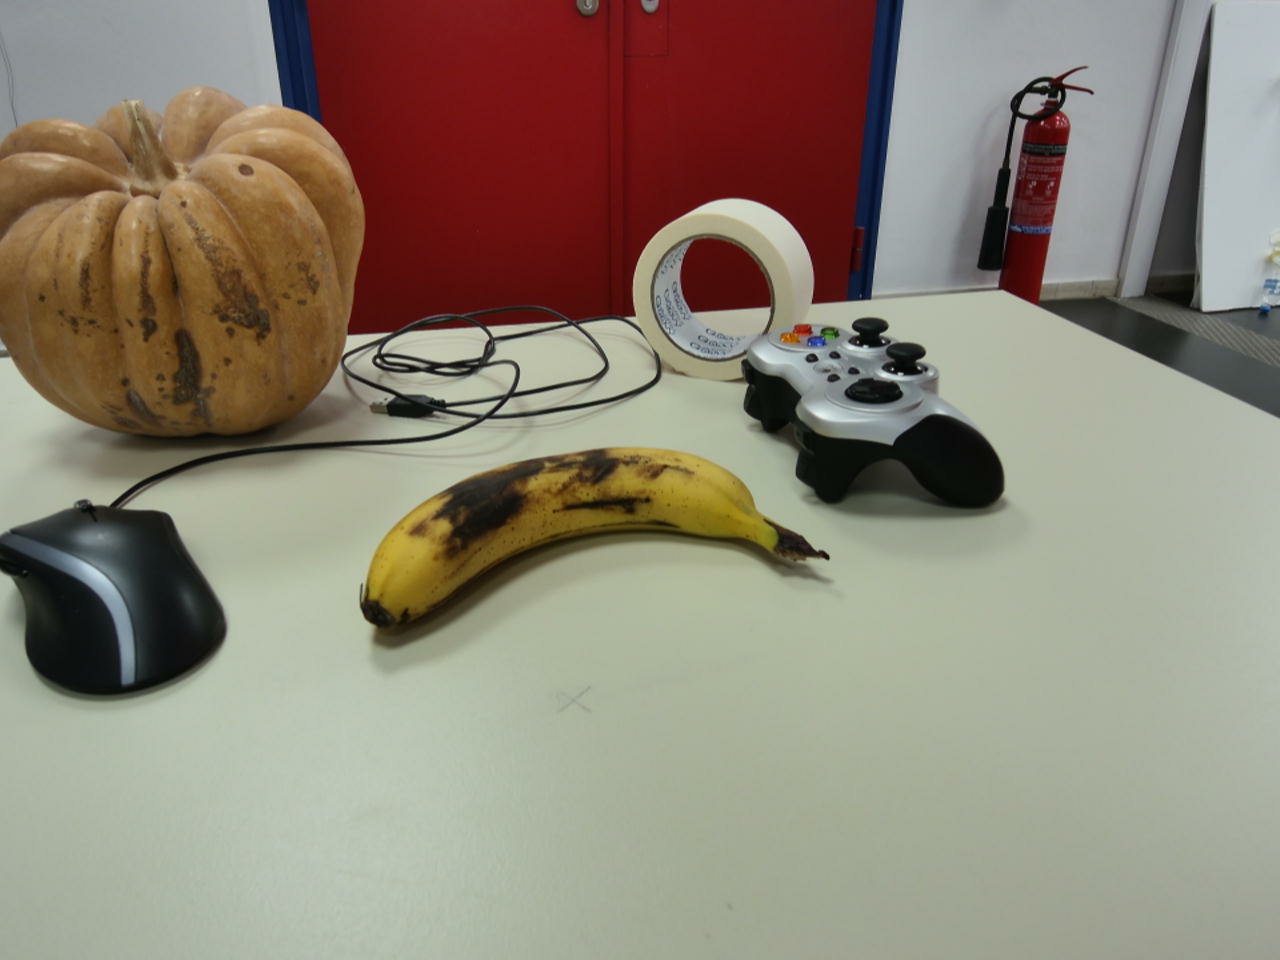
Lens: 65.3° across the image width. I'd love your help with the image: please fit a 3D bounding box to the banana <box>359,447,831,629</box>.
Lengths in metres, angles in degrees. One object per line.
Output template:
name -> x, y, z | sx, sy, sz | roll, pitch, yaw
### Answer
banana -> -0.025, 0.018, 0.429 | 0.187, 0.039, 0.094 | -6, 25, -14
